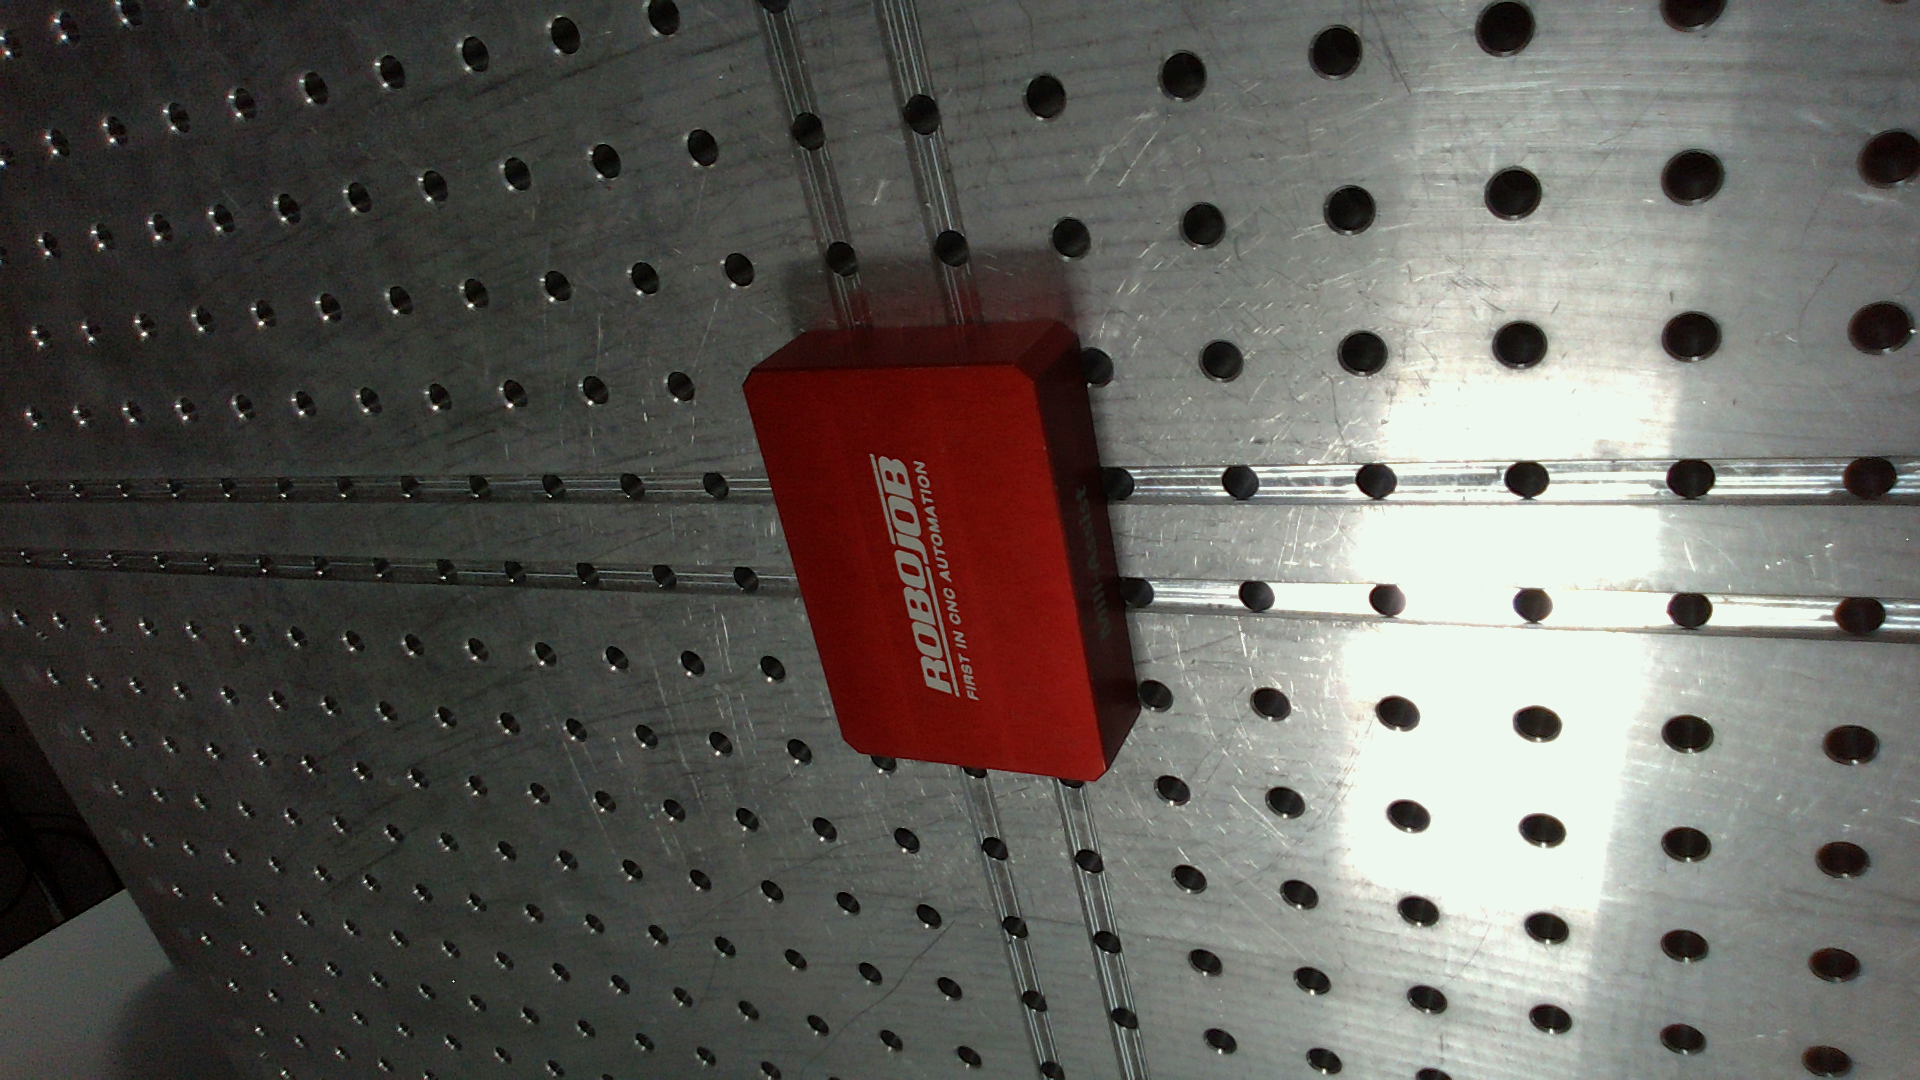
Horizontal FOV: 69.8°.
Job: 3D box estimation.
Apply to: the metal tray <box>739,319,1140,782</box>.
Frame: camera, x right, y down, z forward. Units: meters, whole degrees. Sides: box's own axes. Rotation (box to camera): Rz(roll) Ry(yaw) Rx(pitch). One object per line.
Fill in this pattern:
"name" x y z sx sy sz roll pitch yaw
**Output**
"metal tray" -0.003 0.005 0.397 0.090 0.030 0.130 2 120 27
